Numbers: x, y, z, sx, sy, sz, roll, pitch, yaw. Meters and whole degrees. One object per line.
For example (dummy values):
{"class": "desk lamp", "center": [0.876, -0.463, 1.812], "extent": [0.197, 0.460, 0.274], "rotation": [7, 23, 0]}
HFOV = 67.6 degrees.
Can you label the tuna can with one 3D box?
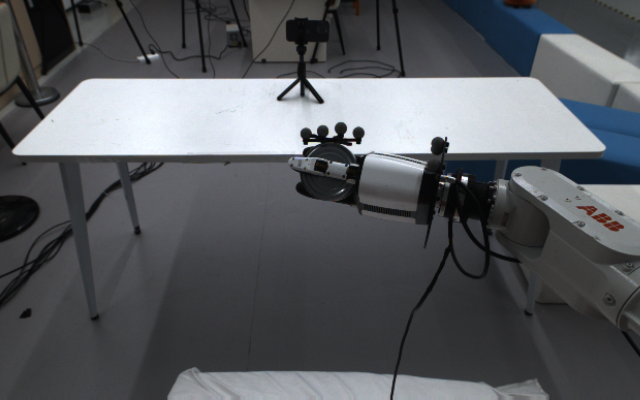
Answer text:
{"class": "tuna can", "center": [0.016, -0.041, 0.713], "extent": [0.085, 0.085, 0.034], "rotation": [13, -2, 15]}
